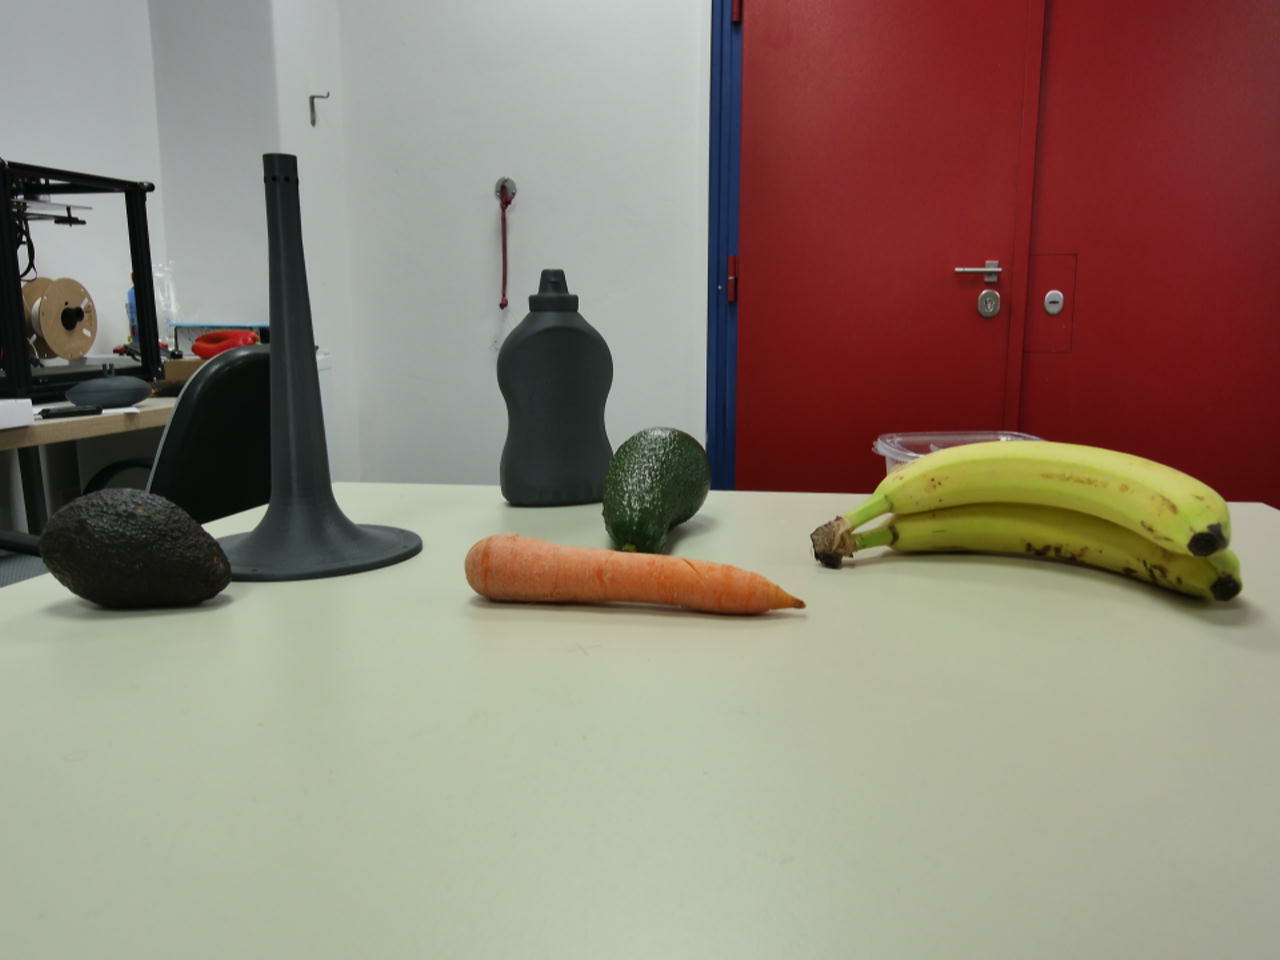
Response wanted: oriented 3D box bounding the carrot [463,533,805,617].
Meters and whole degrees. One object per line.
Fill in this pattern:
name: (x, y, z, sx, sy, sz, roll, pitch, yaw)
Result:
carrot: (-0.005, 0.053, 0.566, 0.196, 0.041, 0.039, 1, 7, 11)
